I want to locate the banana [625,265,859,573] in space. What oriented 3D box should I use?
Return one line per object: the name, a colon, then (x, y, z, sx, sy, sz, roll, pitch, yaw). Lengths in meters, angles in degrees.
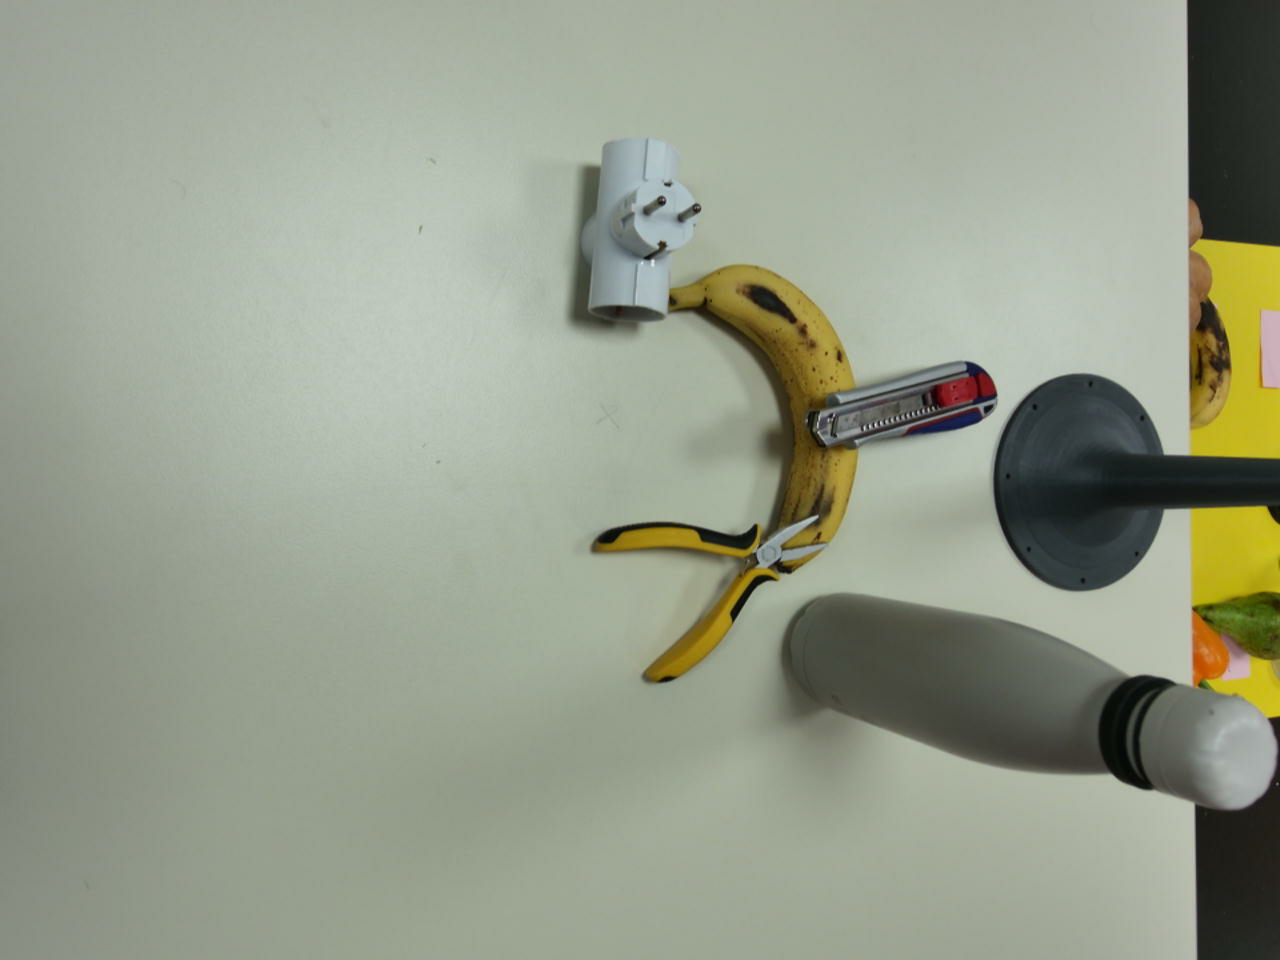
banana: (0.081, -0.047, 0.589, 0.097, 0.038, 0.186, -30, 101, -19)
